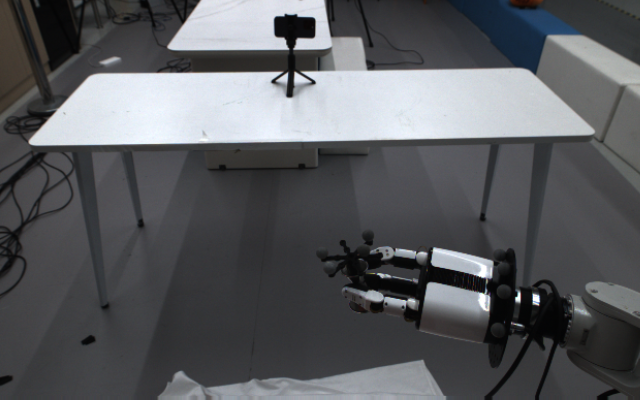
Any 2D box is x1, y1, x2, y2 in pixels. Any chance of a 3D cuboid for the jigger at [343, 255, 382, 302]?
[{"bbox_3d":[0.057,0.120,0.691,0.043,0.071,0.043,-12,30,7],"label":"jigger"}]
